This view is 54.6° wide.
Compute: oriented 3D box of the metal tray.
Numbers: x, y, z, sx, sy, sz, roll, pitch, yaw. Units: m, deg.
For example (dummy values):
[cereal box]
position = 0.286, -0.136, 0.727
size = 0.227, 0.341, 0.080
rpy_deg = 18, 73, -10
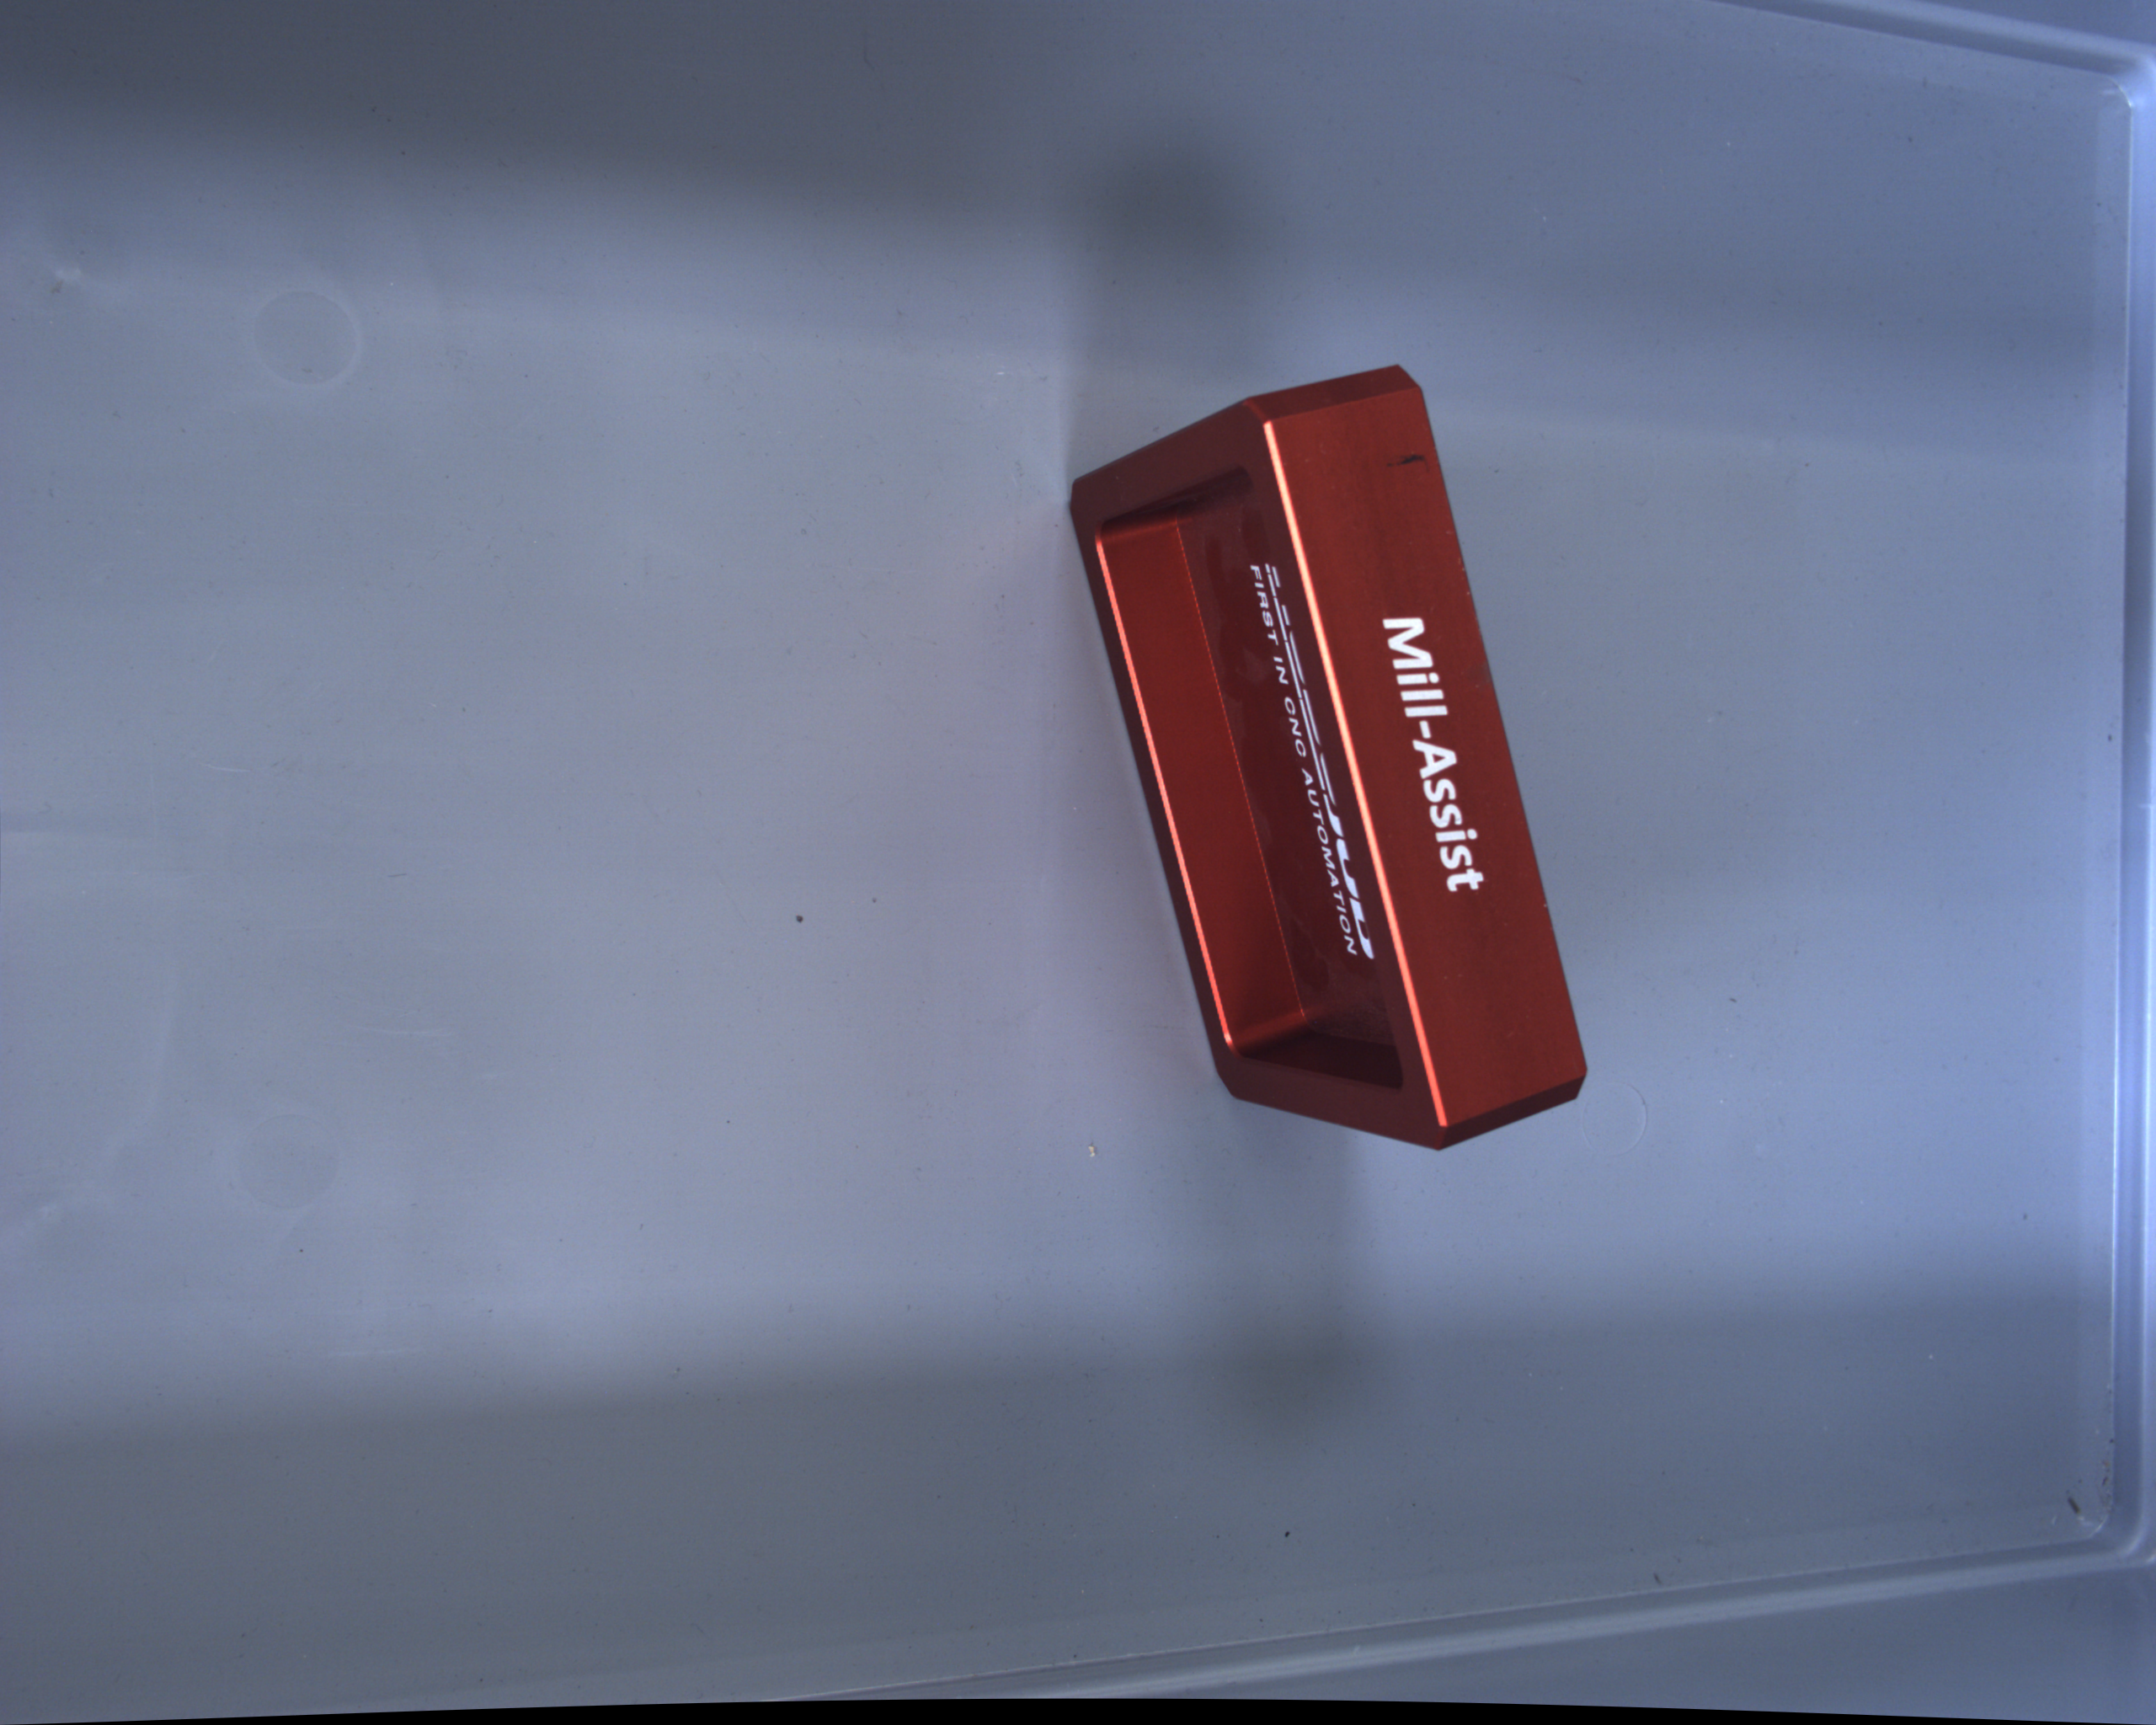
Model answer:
[metal tray]
position = 0.043, -0.017, 0.388
size = 0.030, 0.090, 0.129
rpy_deg = -17, 96, -20
